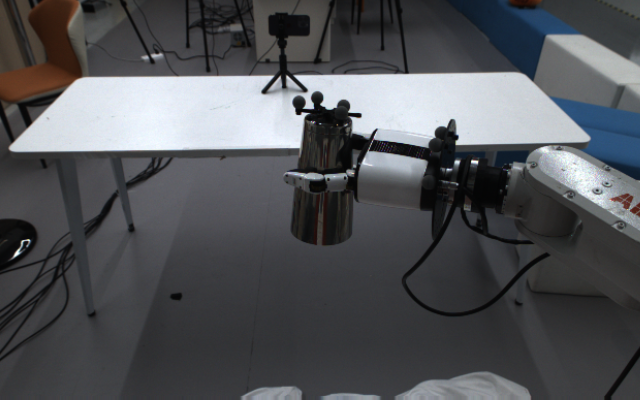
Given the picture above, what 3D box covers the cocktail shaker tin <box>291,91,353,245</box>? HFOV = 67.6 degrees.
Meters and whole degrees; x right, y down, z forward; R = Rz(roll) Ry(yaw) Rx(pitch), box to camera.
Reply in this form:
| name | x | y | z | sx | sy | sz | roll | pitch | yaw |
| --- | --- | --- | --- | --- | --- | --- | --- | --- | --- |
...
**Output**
| name | x | y | z | sx | sy | sz | roll | pitch | yaw |
| --- | --- | --- | --- | --- | --- | --- | --- | --- | --- |
| cocktail shaker tin | 0.007 | -0.033 | 0.683 | 0.093 | 0.170 | 0.093 | 3 | 26 | -1 |
